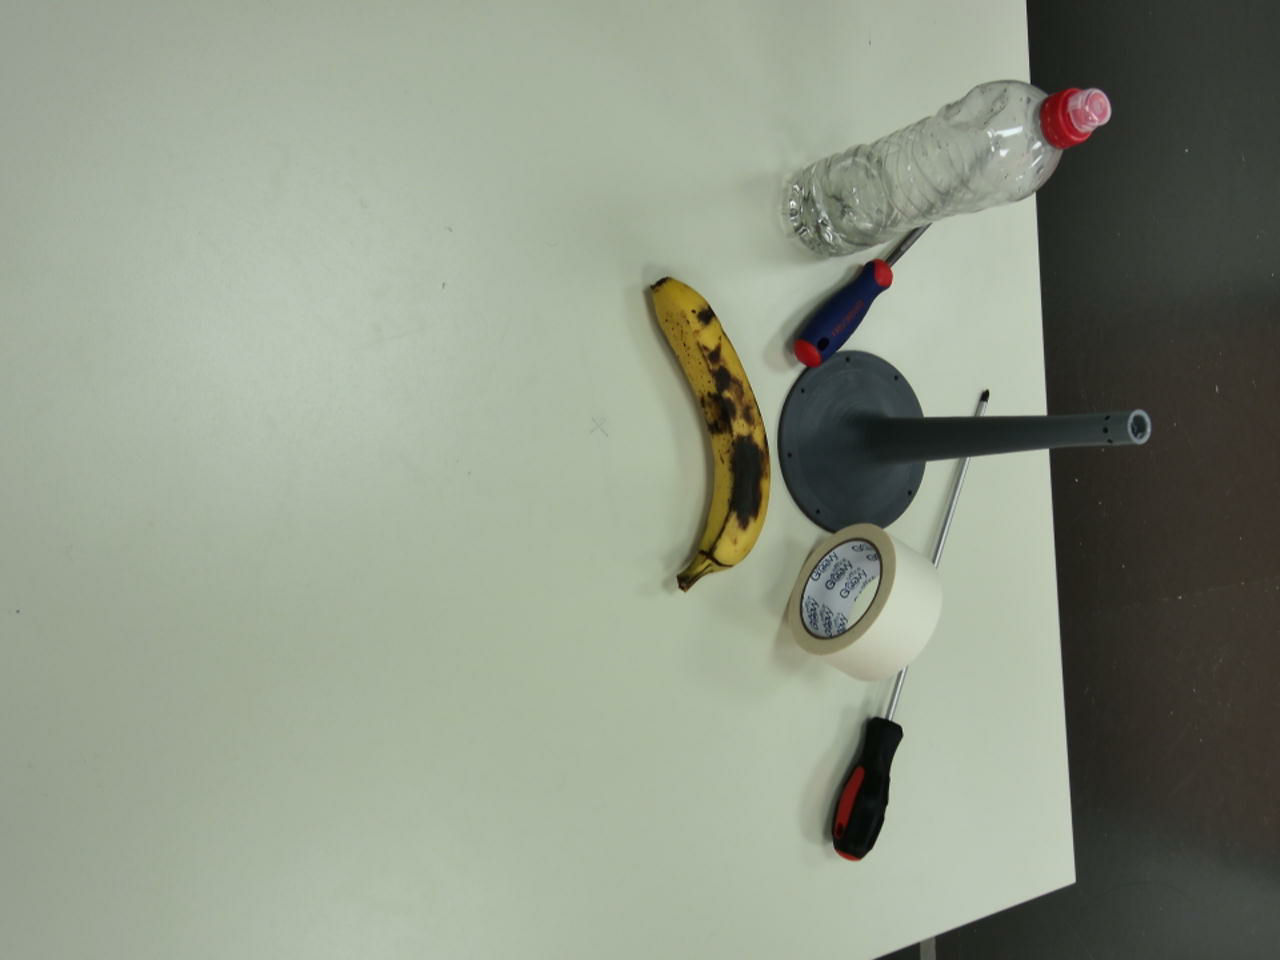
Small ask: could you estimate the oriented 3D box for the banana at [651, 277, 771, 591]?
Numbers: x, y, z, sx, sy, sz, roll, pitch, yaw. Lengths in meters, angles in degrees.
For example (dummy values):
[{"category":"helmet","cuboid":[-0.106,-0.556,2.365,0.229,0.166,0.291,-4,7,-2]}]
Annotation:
[{"category":"banana","cuboid":[0.055,-0.035,0.721,0.084,0.038,0.222,-5,92,-28]}]
